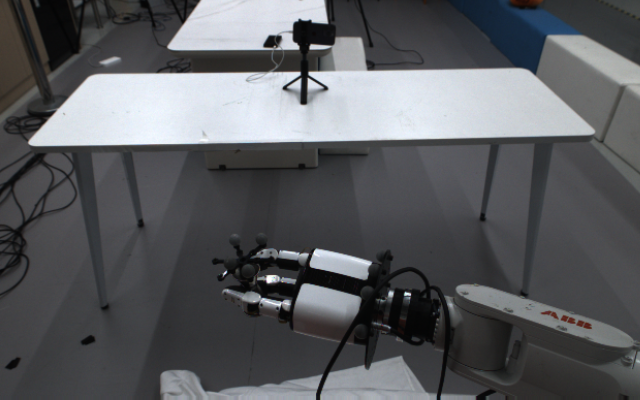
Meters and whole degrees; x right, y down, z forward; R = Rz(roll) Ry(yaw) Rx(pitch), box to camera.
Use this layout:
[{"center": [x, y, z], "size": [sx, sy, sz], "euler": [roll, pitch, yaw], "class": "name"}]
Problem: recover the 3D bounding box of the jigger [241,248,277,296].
[{"center": [-0.094, 0.122, 0.688], "size": [0.043, 0.071, 0.043], "euler": [-9, 31, 5], "class": "jigger"}]
